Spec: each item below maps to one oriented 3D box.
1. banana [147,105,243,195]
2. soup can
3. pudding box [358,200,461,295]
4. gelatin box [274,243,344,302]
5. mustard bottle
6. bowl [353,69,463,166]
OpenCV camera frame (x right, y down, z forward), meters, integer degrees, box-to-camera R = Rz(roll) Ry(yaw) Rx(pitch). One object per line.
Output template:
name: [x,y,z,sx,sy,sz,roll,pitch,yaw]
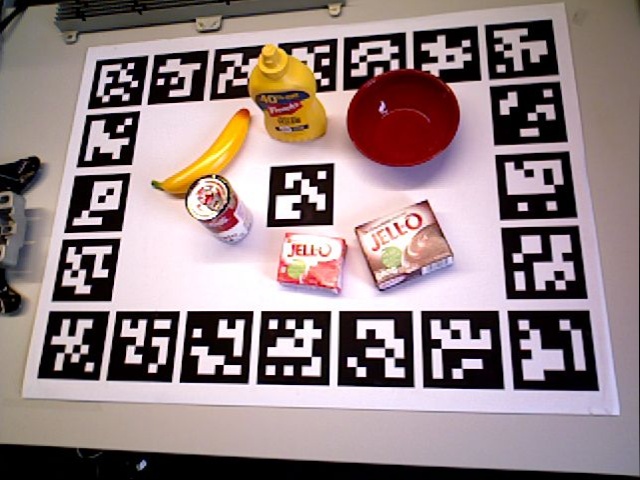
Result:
banana: [-0.182,-0.134,0.845,0.196,0.039,0.074,-46,60,-7]
soup can: [-0.149,-0.044,0.765,0.068,0.103,0.067,-3,68,6]
pudding box: [0.120,0.012,0.739,0.113,0.039,0.090,-24,74,2]
gelatin box: [-0.014,0.044,0.758,0.089,0.030,0.073,5,76,13]
mustard bottle: [-0.049,-0.208,0.751,0.096,0.193,0.058,-1,67,9]
bowl: [0.131,-0.168,0.792,0.162,0.055,0.160,-4,70,11]
